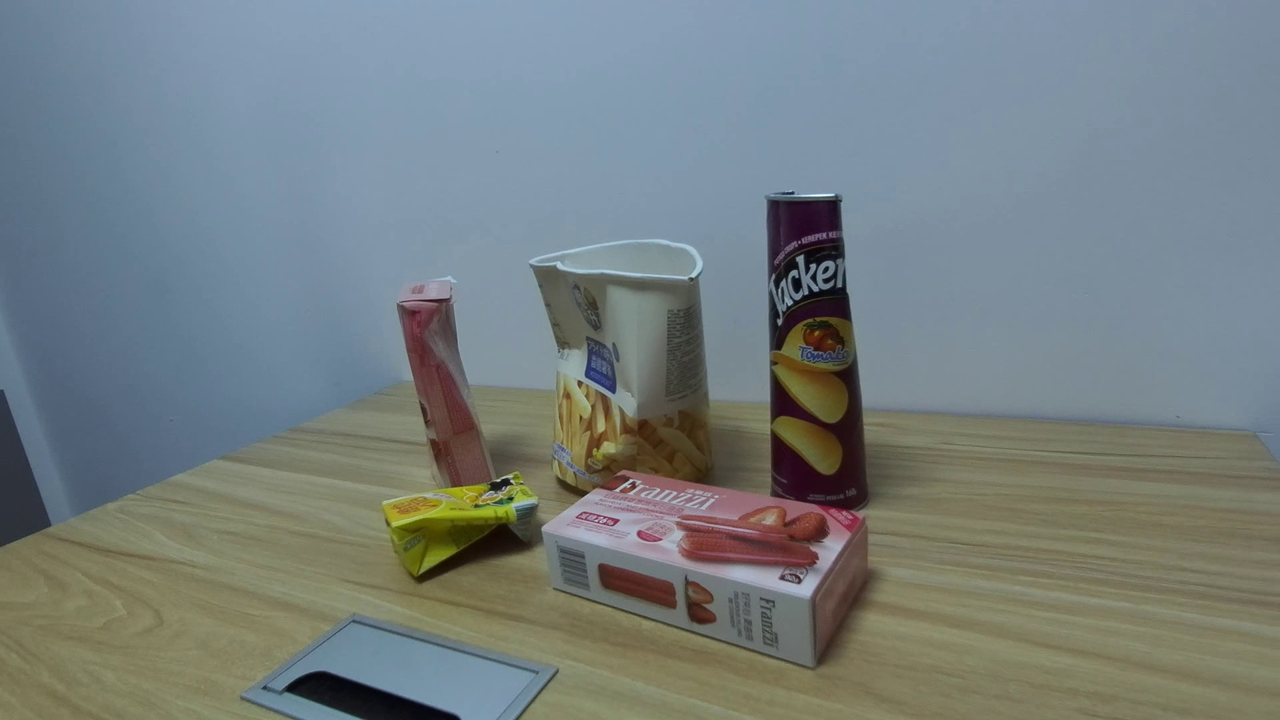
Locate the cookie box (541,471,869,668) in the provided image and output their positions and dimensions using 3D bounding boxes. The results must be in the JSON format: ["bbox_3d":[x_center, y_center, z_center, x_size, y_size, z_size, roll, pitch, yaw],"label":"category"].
[{"bbox_3d":[0.039,0.122,0.449,0.183,0.048,0.096,4,19,33],"label":"cookie box"}]

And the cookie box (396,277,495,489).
[{"bbox_3d":[-0.170,0.026,0.628,0.055,0.184,0.118,-11,16,-15],"label":"cookie box"}]

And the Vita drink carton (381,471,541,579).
[{"bbox_3d":[-0.133,0.122,0.534,0.108,0.042,0.086,-9,8,-25],"label":"Vita drink carton"}]

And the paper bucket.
[{"bbox_3d":[-0.013,0.003,0.618,0.217,0.199,0.148,4,18,33],"label":"paper bucket"}]

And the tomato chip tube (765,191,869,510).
[{"bbox_3d":[0.131,-0.005,0.526,0.076,0.235,0.078,6,18,37],"label":"tomato chip tube"}]
